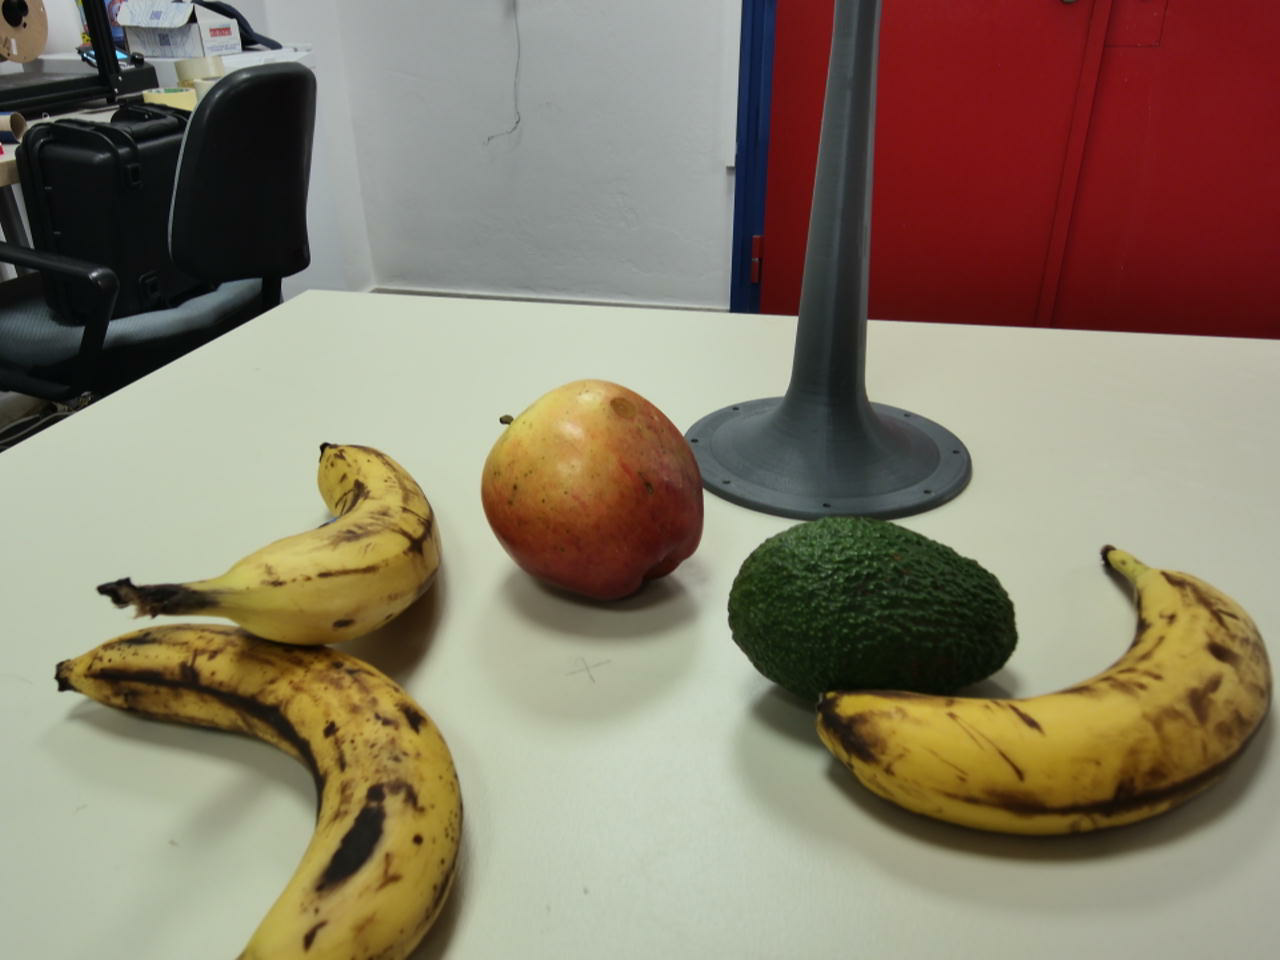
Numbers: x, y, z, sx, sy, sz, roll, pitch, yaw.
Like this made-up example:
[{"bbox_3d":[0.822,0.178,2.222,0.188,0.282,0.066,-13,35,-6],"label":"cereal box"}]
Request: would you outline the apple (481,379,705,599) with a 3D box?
[{"bbox_3d":[-0.021,0.003,0.405,0.086,0.084,0.093,-9,26,-21],"label":"apple"}]
